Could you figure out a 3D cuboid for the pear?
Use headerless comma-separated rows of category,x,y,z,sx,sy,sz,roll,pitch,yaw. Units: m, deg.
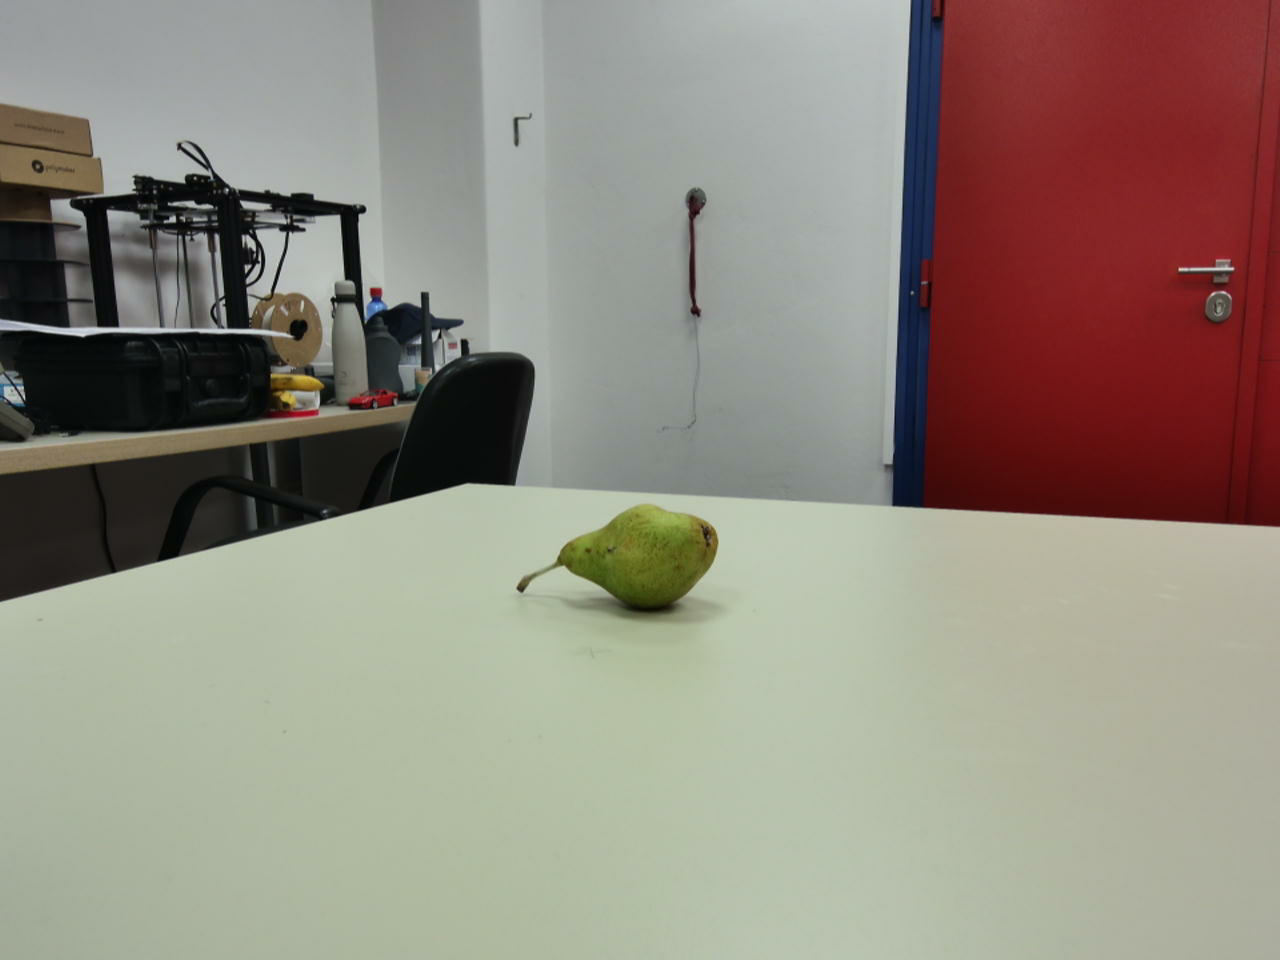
pear,-0.010,0.040,0.555,0.111,0.056,0.056,6,7,39
